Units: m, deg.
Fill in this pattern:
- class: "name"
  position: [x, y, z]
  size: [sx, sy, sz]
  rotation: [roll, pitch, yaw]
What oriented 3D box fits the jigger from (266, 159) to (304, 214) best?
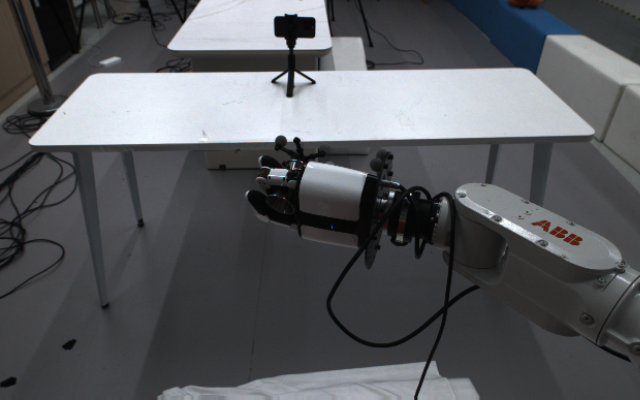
- class: "jigger"
  position: [-0.040, -0.020, 0.682]
  size: [0.043, 0.043, 0.071]
  rotation: [13, 58, 16]
